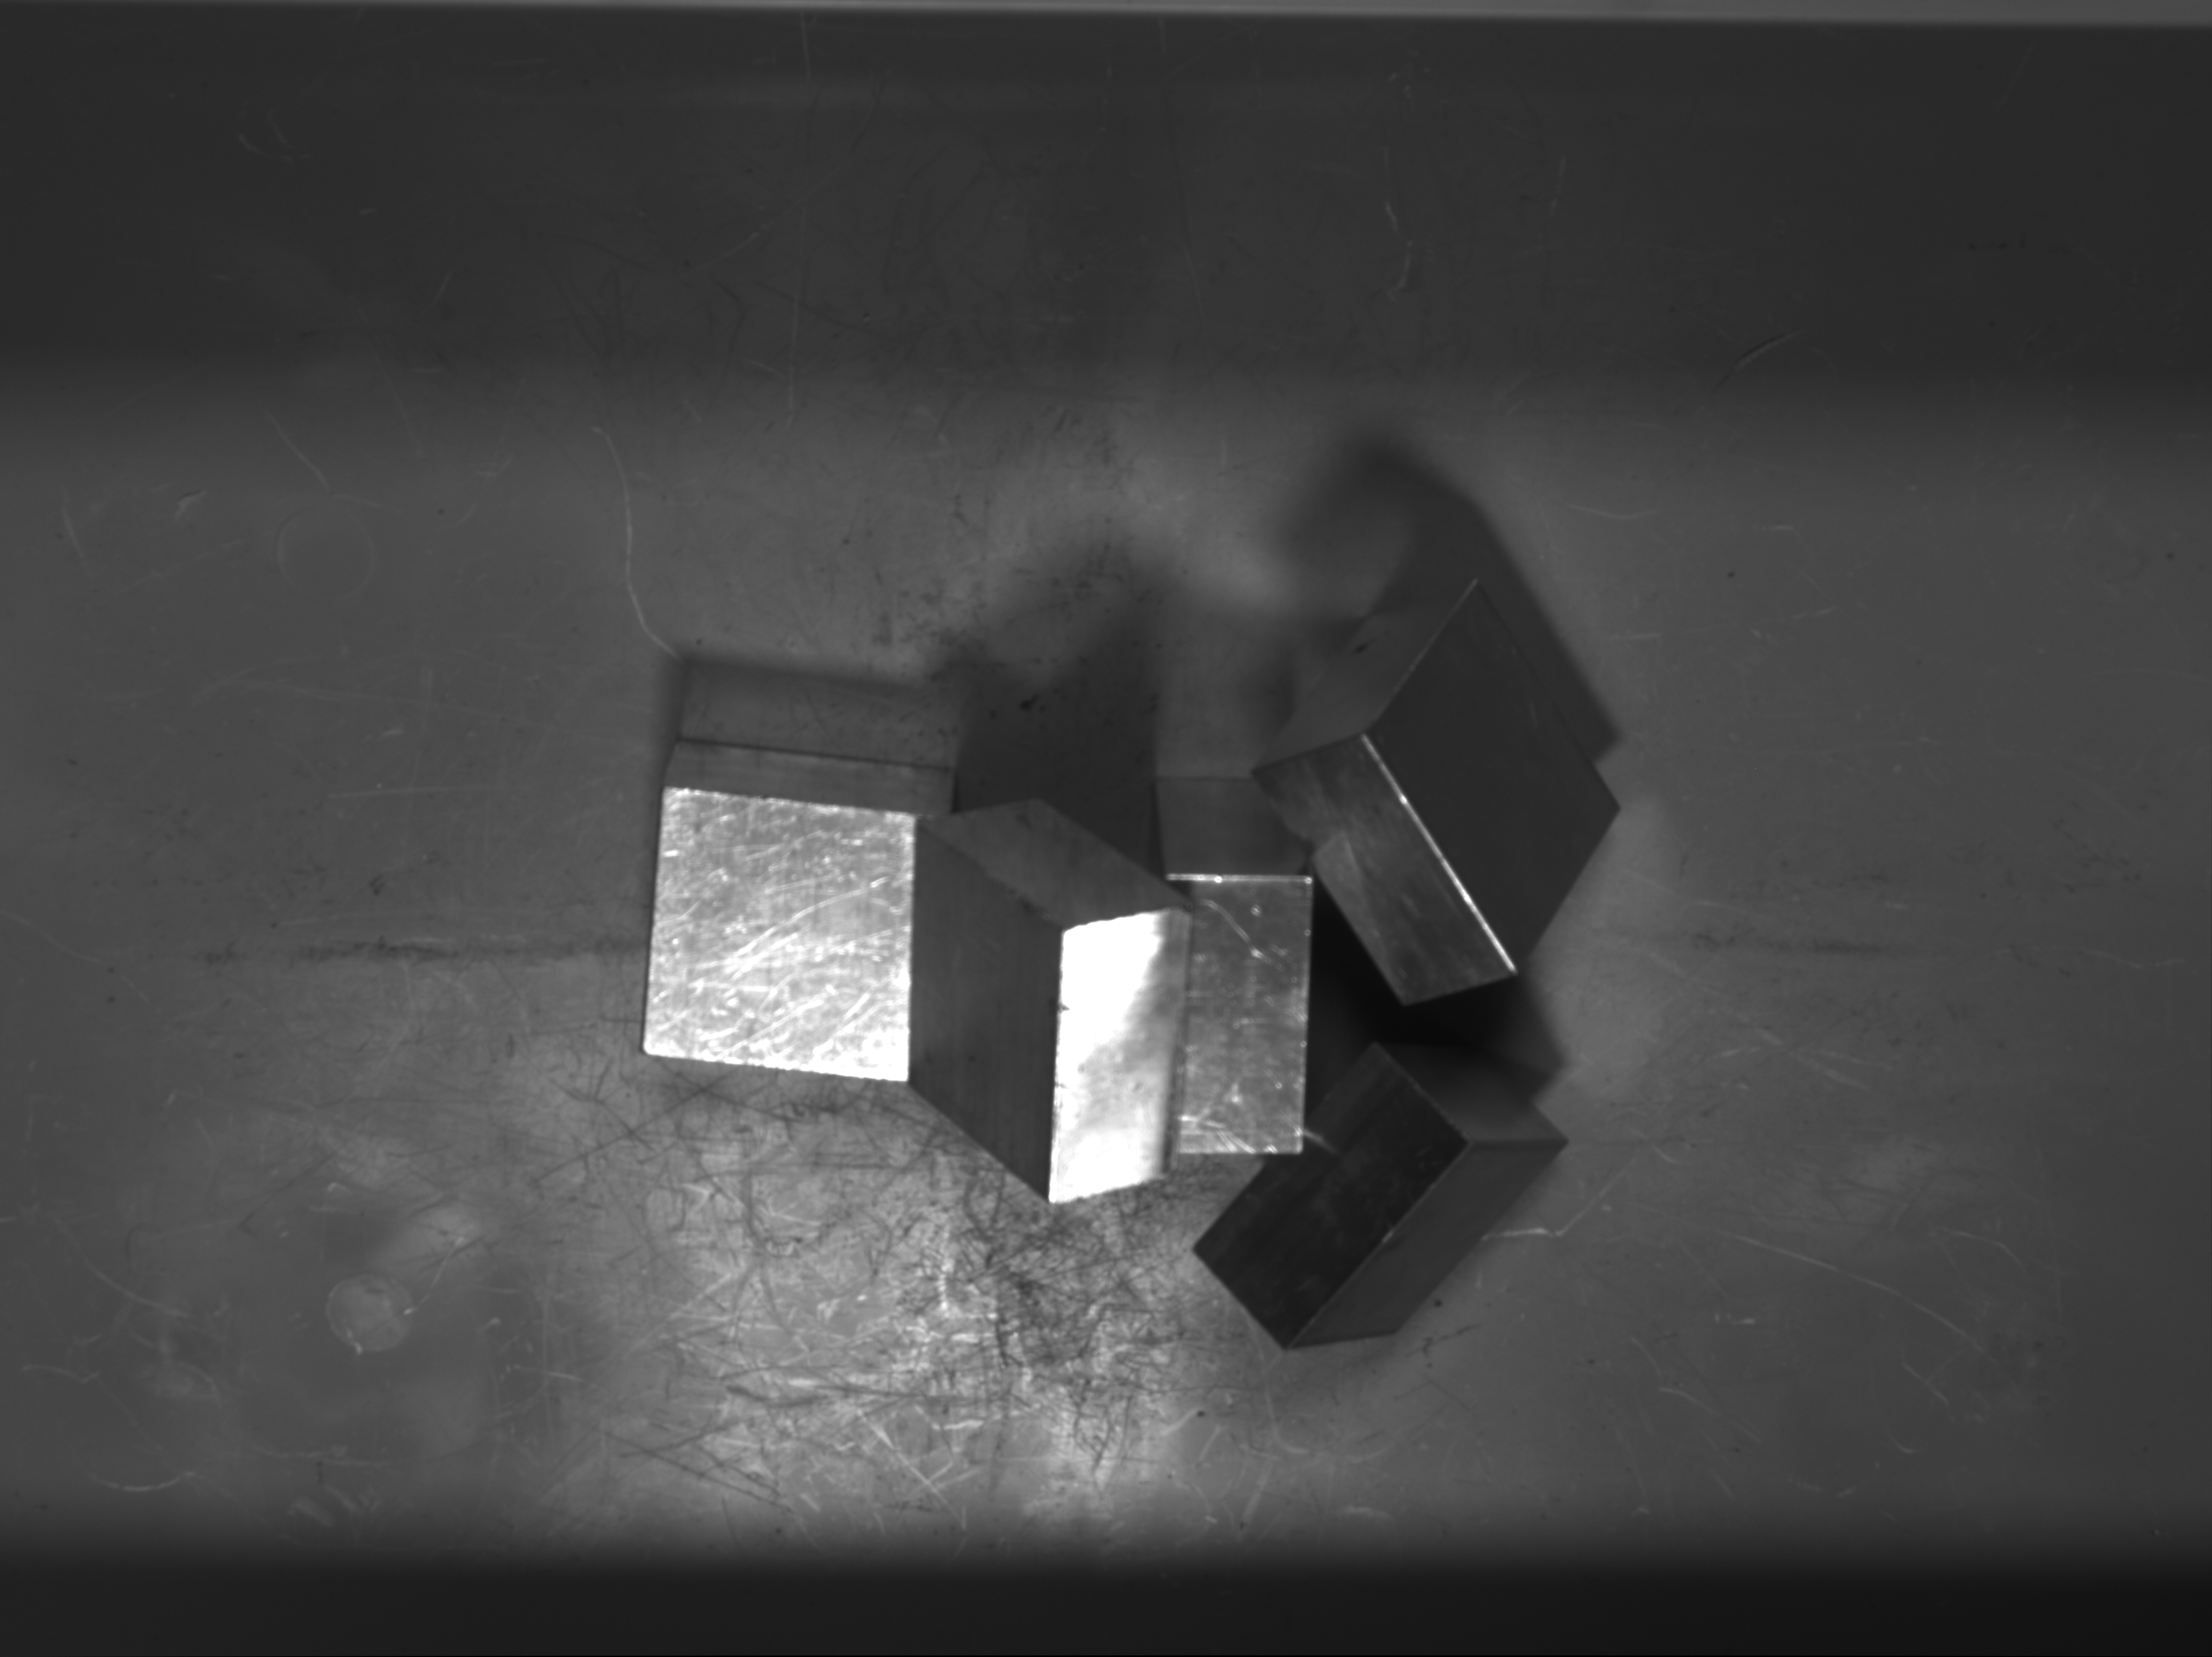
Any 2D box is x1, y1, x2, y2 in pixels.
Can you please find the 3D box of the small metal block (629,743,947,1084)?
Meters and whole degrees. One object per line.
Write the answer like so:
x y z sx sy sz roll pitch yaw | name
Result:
-0.056 0.015 0.645 0.050 0.025 0.050 6 110 -3 | small metal block

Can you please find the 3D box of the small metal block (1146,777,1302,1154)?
0.019 0.023 0.637 0.025 0.050 0.050 1 110 -1 | small metal block

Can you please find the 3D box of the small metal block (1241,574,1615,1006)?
0.056 -0.007 0.624 0.025 0.050 0.050 -19 113 40 | small metal block

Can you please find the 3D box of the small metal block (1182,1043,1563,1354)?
0.048 0.065 0.650 0.025 0.050 0.050 46 106 21 | small metal block

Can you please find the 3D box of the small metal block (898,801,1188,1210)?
-0.012 0.029 0.620 0.025 0.050 0.050 -11 116 -30 | small metal block
